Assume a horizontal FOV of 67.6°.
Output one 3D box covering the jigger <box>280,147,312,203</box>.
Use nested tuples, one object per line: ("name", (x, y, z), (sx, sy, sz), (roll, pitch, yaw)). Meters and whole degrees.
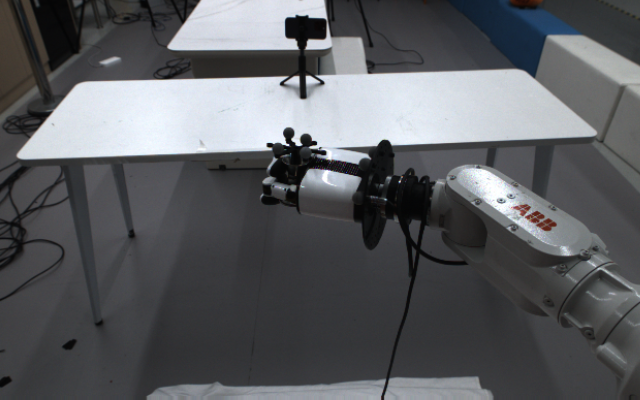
("jigger", (-0.038, -0.029, 0.732), (0.043, 0.071, 0.043), (5, 26, -3))
